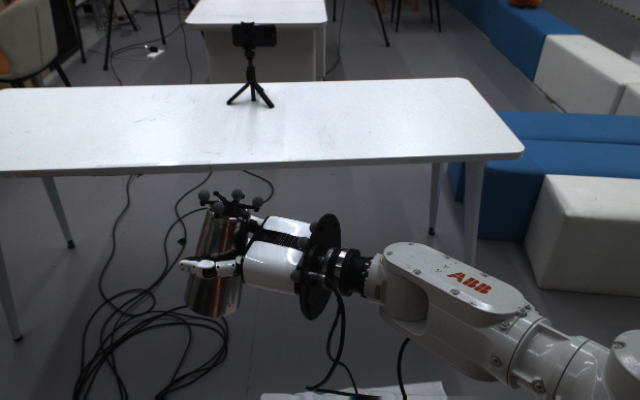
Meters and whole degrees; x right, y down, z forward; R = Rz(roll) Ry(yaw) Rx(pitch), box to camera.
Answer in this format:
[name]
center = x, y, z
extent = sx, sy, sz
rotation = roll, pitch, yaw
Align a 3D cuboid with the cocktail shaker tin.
[cocktail shaker tin]
center = -0.156, 0.088, 0.766
extent = 0.093, 0.170, 0.093
rotation = 12, 24, -5
